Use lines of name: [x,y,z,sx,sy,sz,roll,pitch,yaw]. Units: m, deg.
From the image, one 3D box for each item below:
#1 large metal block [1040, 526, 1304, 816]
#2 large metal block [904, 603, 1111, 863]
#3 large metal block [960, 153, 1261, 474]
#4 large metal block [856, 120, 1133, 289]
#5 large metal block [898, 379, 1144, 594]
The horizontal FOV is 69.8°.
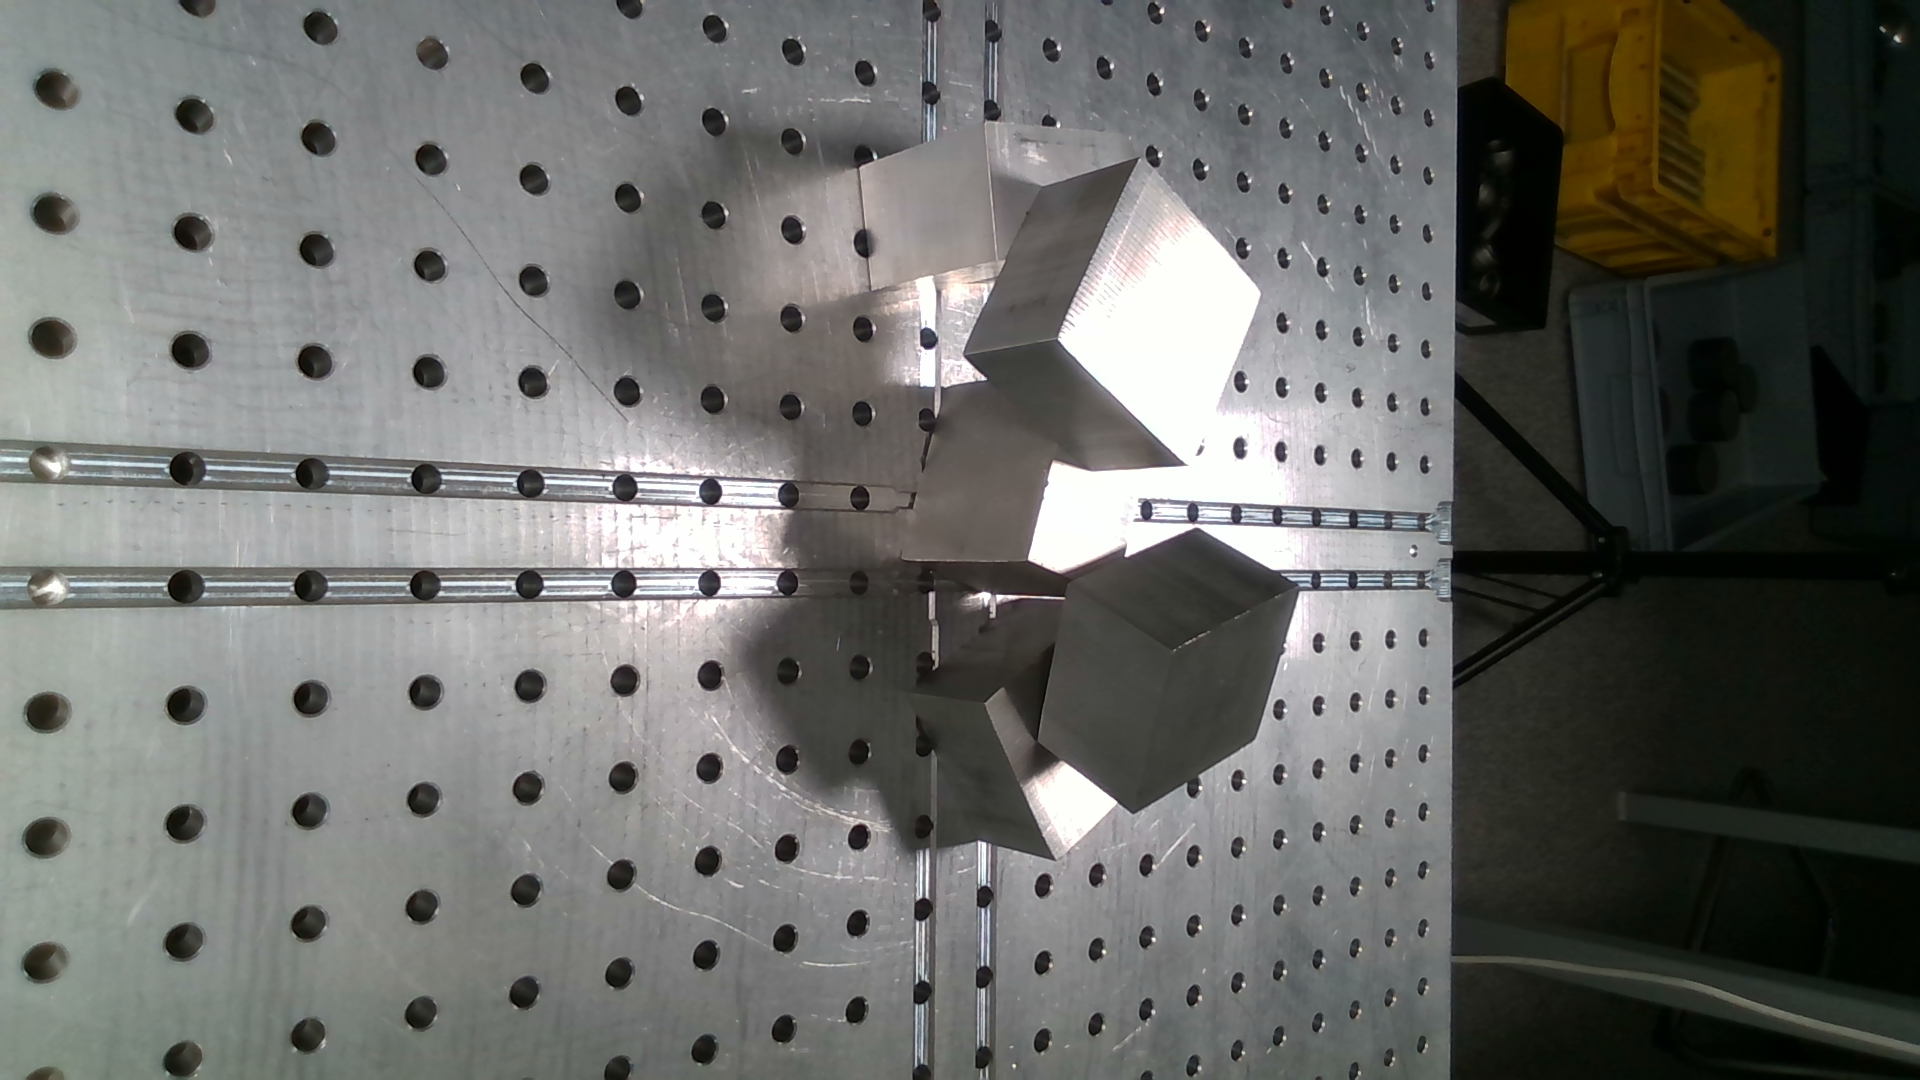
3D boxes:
large metal block: [0.084,0.051,0.551,0.080,0.050,0.080,-21,132,-38]
large metal block: [0.034,0.079,0.599,0.080,0.050,0.080,-37,113,-34]
large metal block: [0.058,-0.081,0.513,0.080,0.050,0.080,38,66,-34]
large metal block: [0.016,-0.133,0.563,0.080,0.080,0.050,-8,95,-40]
large metal block: [0.027,-0.021,0.572,0.050,0.080,0.080,24,75,-38]
